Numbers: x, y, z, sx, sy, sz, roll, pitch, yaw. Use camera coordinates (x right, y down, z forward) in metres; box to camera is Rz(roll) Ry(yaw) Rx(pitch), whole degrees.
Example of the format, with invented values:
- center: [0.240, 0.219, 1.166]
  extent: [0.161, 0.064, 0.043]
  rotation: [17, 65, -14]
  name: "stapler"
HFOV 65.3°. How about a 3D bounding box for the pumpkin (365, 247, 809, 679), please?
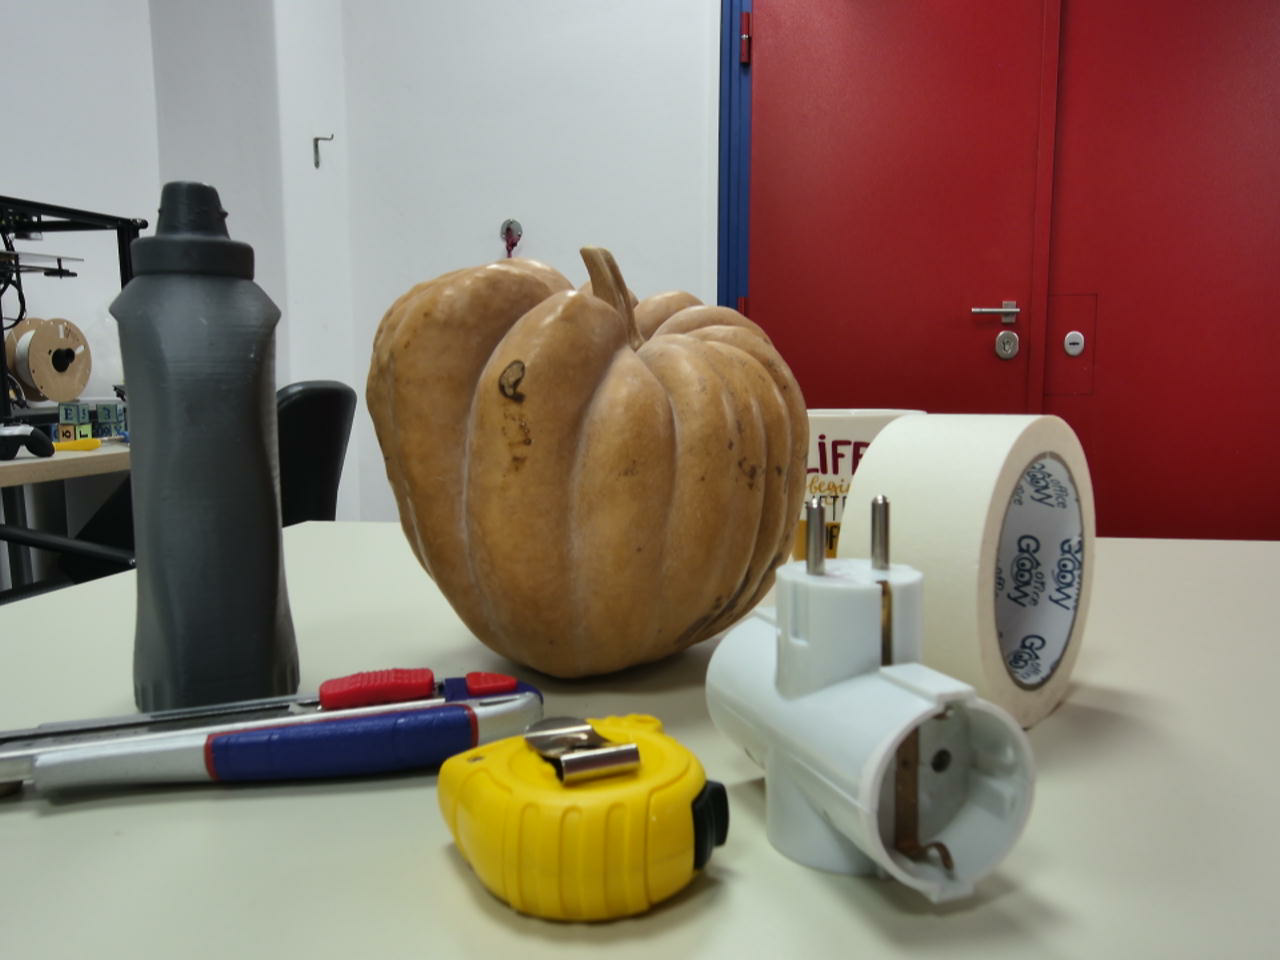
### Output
- center: [-0.023, -0.010, 0.433]
  extent: [0.199, 0.177, 0.198]
  rotation: [0, 4, 0]
  name: "pumpkin"
